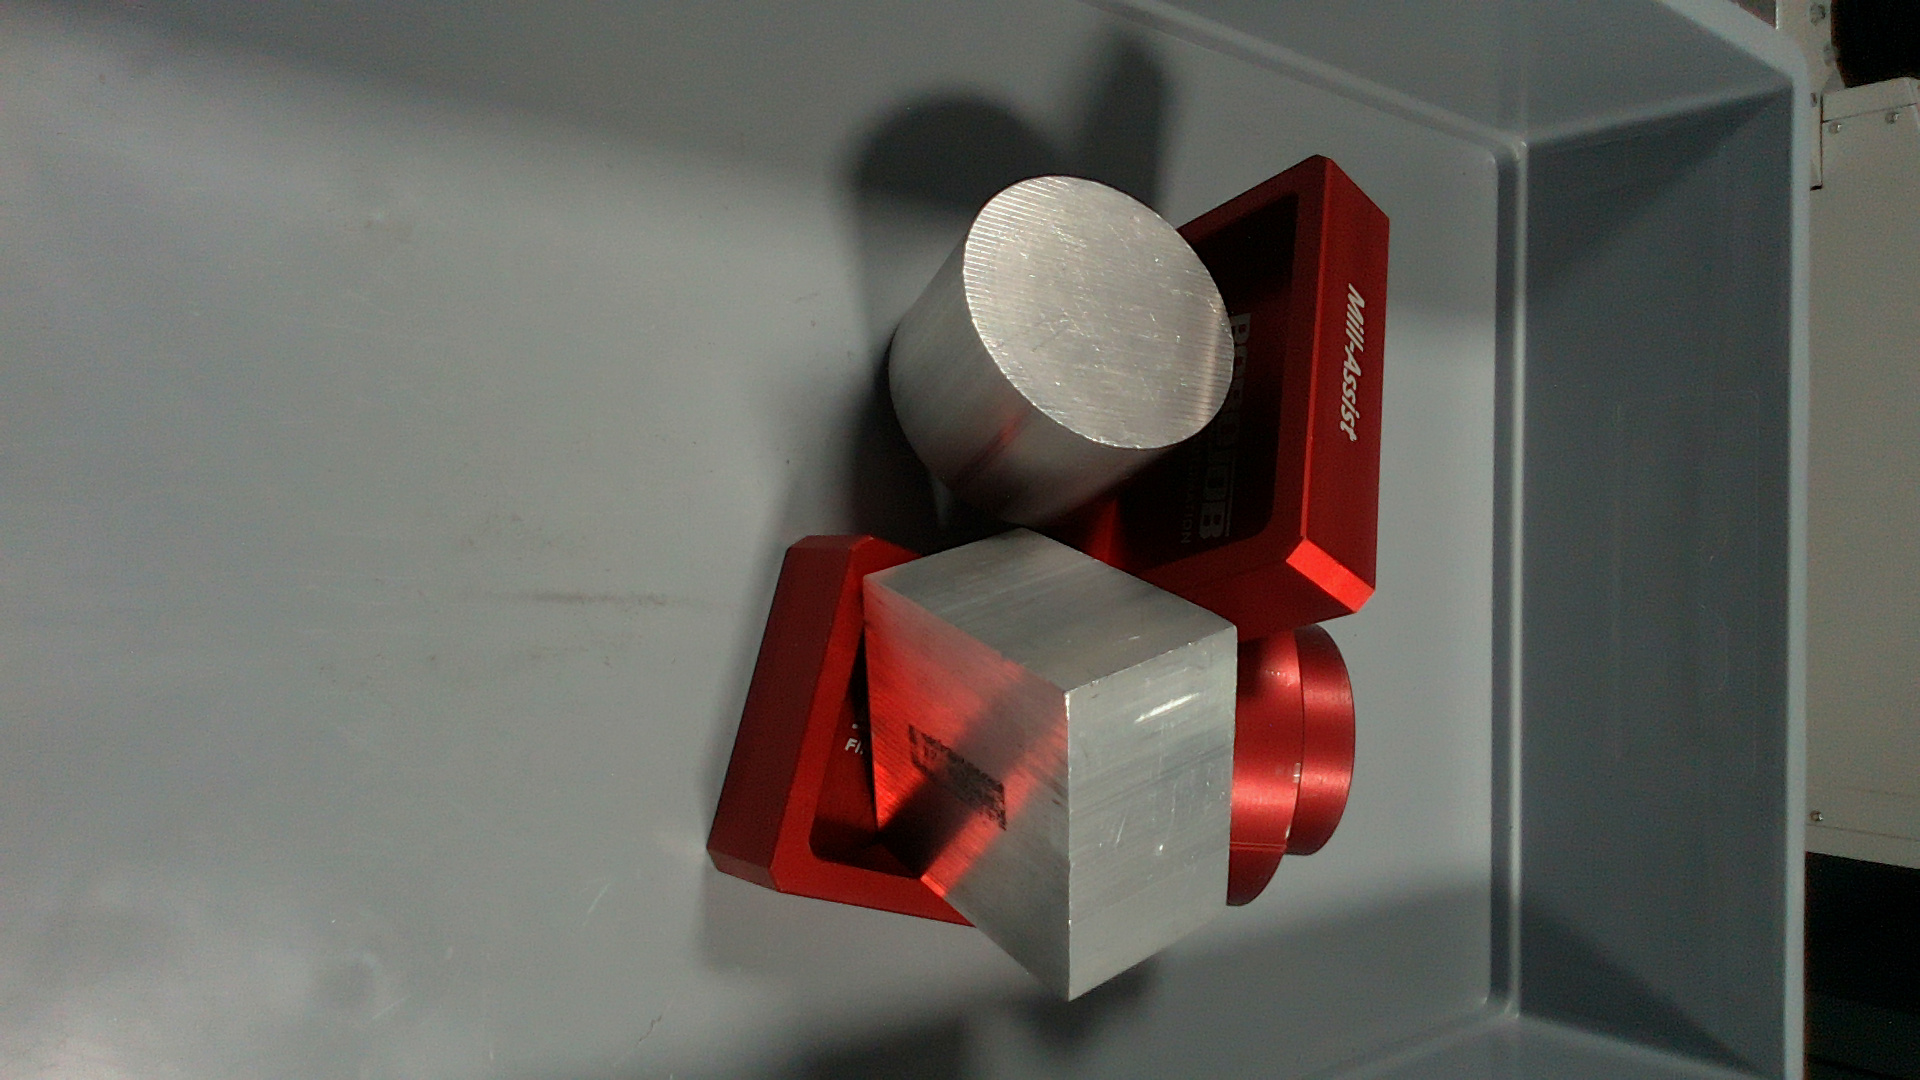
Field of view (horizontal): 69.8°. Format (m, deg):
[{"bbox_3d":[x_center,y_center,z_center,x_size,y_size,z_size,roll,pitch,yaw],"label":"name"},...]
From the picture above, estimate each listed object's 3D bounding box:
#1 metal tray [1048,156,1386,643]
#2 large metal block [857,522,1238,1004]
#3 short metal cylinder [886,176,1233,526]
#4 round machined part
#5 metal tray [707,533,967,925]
[{"bbox_3d":[0.070,-0.034,0.384,0.030,0.090,0.130,32,55,-32],"label":"metal tray"},{"bbox_3d":[0.020,0.050,0.338,0.050,0.080,0.080,-17,117,-32],"label":"large metal block"},{"bbox_3d":[0.026,-0.050,0.374,0.080,0.050,0.080,11,63,-23],"label":"short metal cylinder"},{"bbox_3d":[0.082,0.057,0.404,0.042,0.098,0.098,5,86,-9],"label":"round machined part"},{"bbox_3d":[0.002,0.059,0.385,0.130,0.030,0.090,22,76,-37],"label":"metal tray"}]
